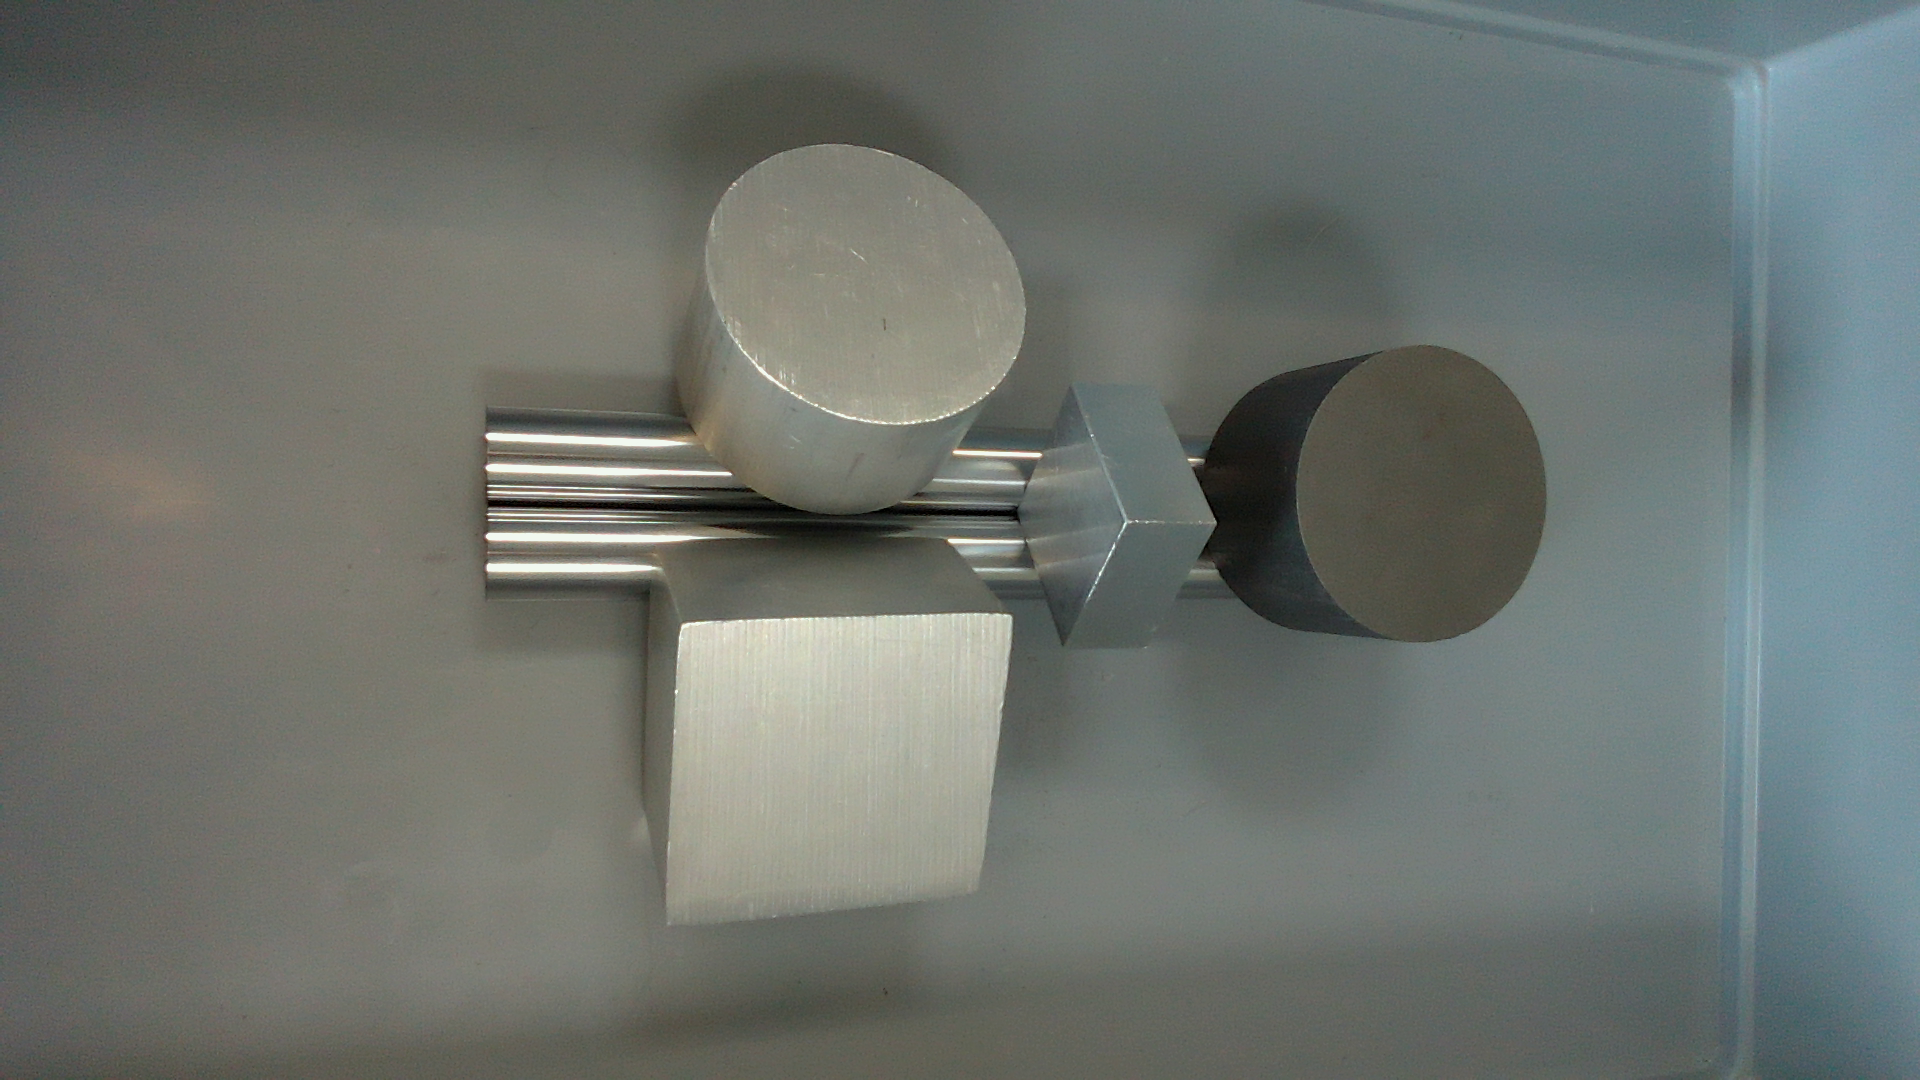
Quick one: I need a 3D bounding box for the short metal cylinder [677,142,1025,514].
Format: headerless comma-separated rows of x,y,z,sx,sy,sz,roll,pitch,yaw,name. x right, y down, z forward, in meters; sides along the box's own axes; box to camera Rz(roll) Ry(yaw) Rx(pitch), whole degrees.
-0.030,-0.053,0.353,0.080,0.050,0.080,8,63,-17,short metal cylinder

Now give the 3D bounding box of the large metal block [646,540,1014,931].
-0.037,0.047,0.351,0.080,0.050,0.080,-1,110,-20,large metal block

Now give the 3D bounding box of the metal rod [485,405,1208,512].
0.021,-0.020,0.400,0.301,0.025,0.025,1,90,-20,metal rod

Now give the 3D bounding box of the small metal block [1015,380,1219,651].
0.039,-0.006,0.364,0.025,0.050,0.050,1,48,-20,small metal block

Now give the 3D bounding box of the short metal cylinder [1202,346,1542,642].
0.117,-0.012,0.395,0.080,0.050,0.080,0,90,-20,short metal cylinder

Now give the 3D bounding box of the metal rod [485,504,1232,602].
0.021,0.005,0.400,0.301,0.025,0.025,1,90,-20,metal rod
